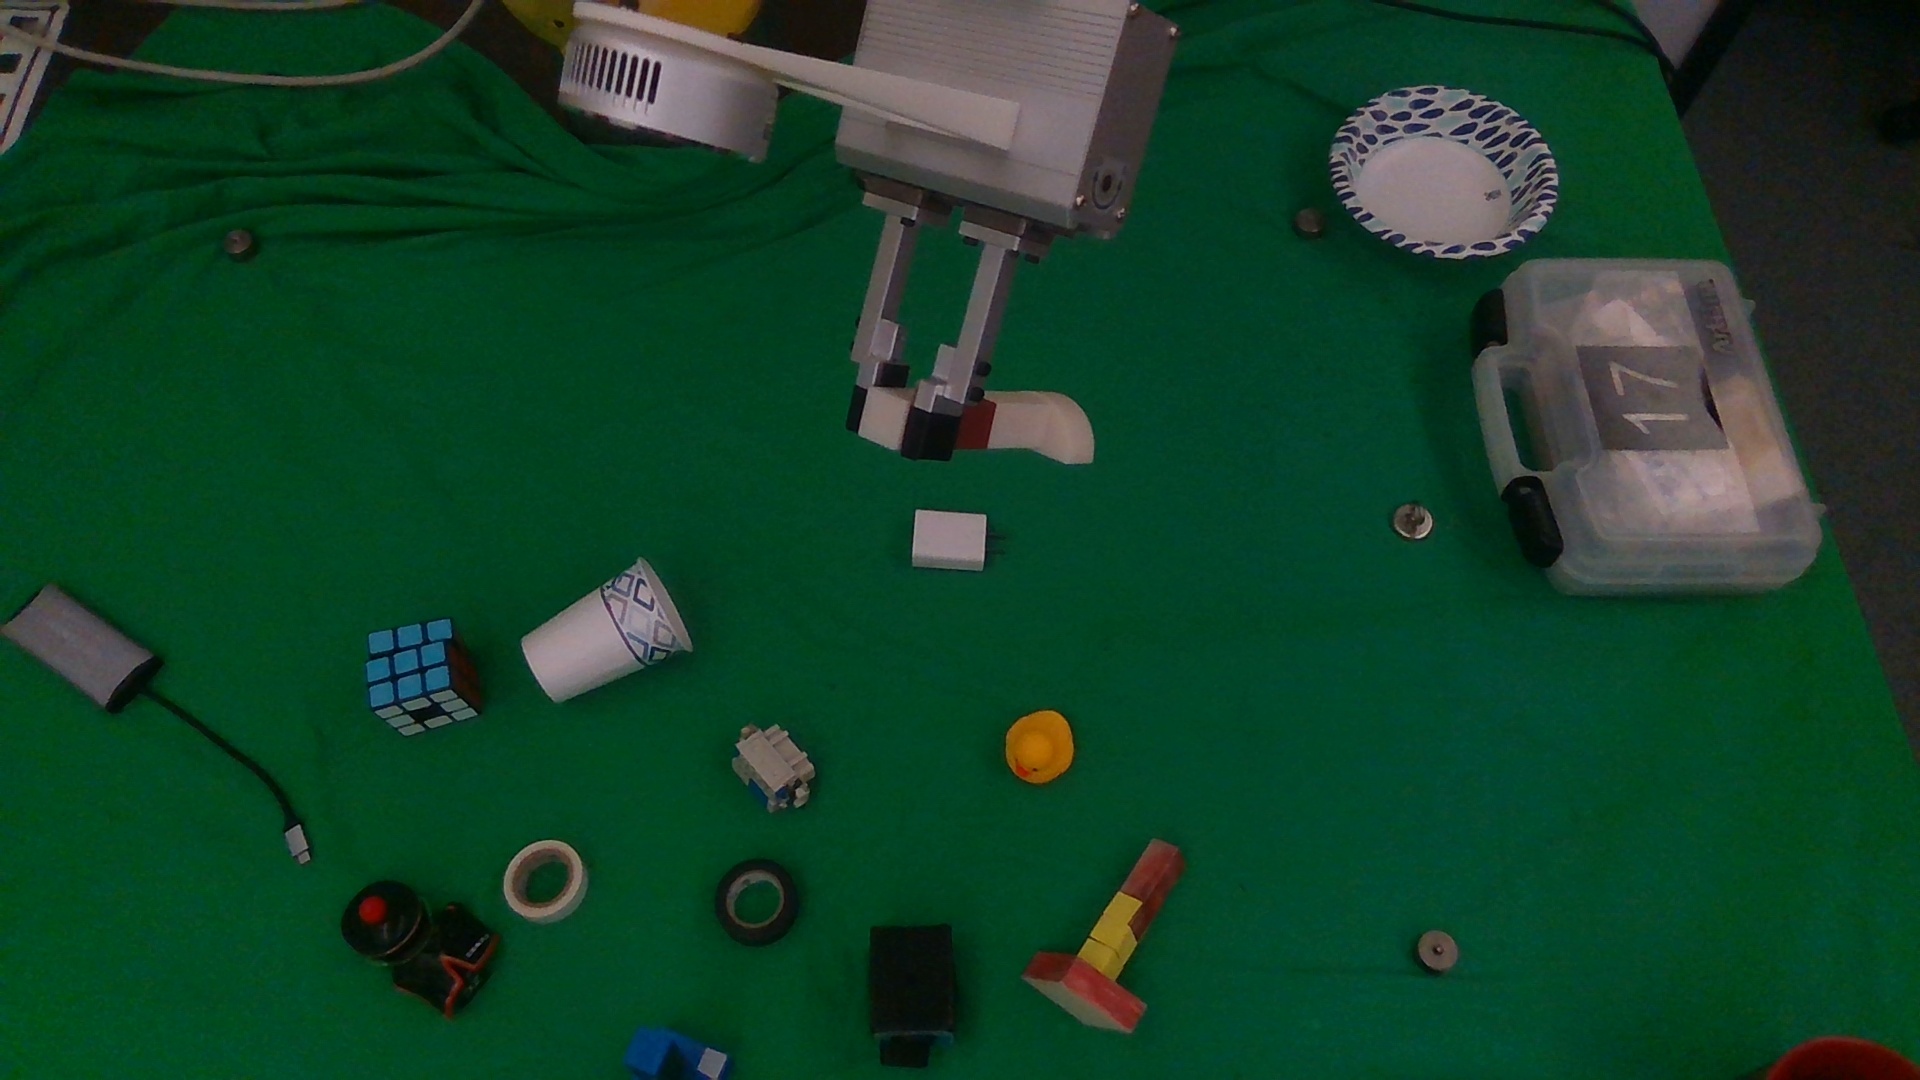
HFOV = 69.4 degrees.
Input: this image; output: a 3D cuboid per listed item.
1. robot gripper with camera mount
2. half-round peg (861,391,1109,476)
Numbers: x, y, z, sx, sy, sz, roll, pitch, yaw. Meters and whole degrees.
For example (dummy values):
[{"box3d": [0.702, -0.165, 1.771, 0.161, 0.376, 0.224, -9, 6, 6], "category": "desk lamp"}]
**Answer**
[{"box3d": [-0.053, -0.108, 0.453, 0.119, 0.192, 0.158, 25, 107, 33], "category": "robot gripper with camera mount"}, {"box3d": [0.009, -0.047, 0.578, 0.055, 0.121, 0.031, 25, 108, 36], "category": "half-round peg"}]
